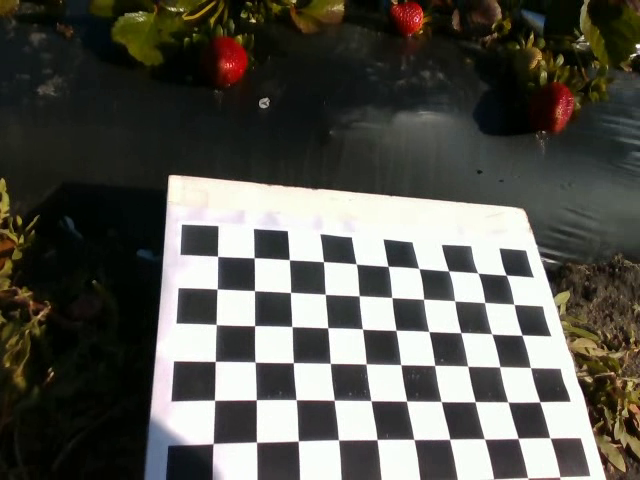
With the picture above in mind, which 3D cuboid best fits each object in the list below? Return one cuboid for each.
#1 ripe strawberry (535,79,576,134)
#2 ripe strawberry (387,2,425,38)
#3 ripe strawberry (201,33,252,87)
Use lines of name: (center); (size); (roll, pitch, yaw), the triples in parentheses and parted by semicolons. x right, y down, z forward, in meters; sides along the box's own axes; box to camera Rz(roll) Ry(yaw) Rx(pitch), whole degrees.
ripe strawberry: (0.186, -0.103, 0.476); (0.042, 0.058, 0.042); (26, -47, -7)
ripe strawberry: (0.076, -0.209, 0.539); (0.046, 0.034, 0.036); (10, -35, -24)
ripe strawberry: (-0.076, -0.140, 0.449); (0.045, 0.041, 0.055); (14, 24, -15)
